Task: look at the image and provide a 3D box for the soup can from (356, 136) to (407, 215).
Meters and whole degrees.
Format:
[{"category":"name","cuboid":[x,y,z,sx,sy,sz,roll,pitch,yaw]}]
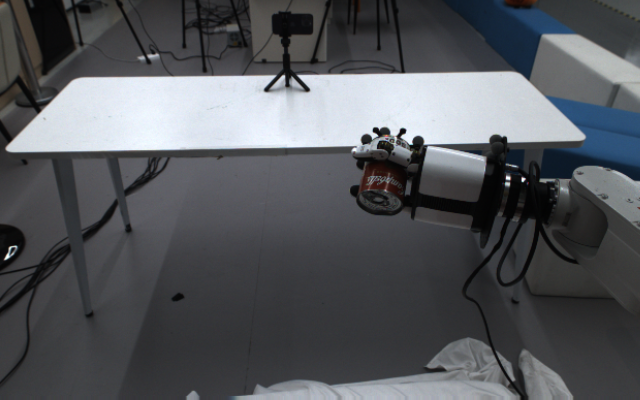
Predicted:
[{"category":"soup can","cuboid":[0.096,-0.038,0.709,0.067,0.067,0.101,9,58,10]}]
